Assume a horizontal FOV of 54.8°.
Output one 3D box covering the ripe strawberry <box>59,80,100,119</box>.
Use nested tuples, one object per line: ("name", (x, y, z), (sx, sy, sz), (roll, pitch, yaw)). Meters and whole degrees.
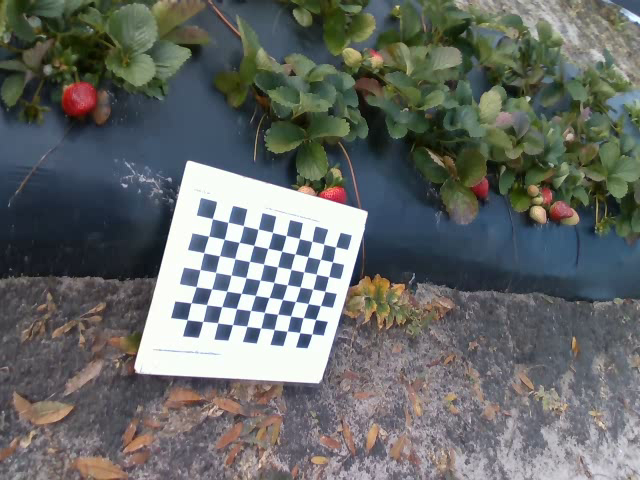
("ripe strawberry", (-0.305, -0.177, 0.789), (0.050, 0.049, 0.053), (4, 27, -37))
